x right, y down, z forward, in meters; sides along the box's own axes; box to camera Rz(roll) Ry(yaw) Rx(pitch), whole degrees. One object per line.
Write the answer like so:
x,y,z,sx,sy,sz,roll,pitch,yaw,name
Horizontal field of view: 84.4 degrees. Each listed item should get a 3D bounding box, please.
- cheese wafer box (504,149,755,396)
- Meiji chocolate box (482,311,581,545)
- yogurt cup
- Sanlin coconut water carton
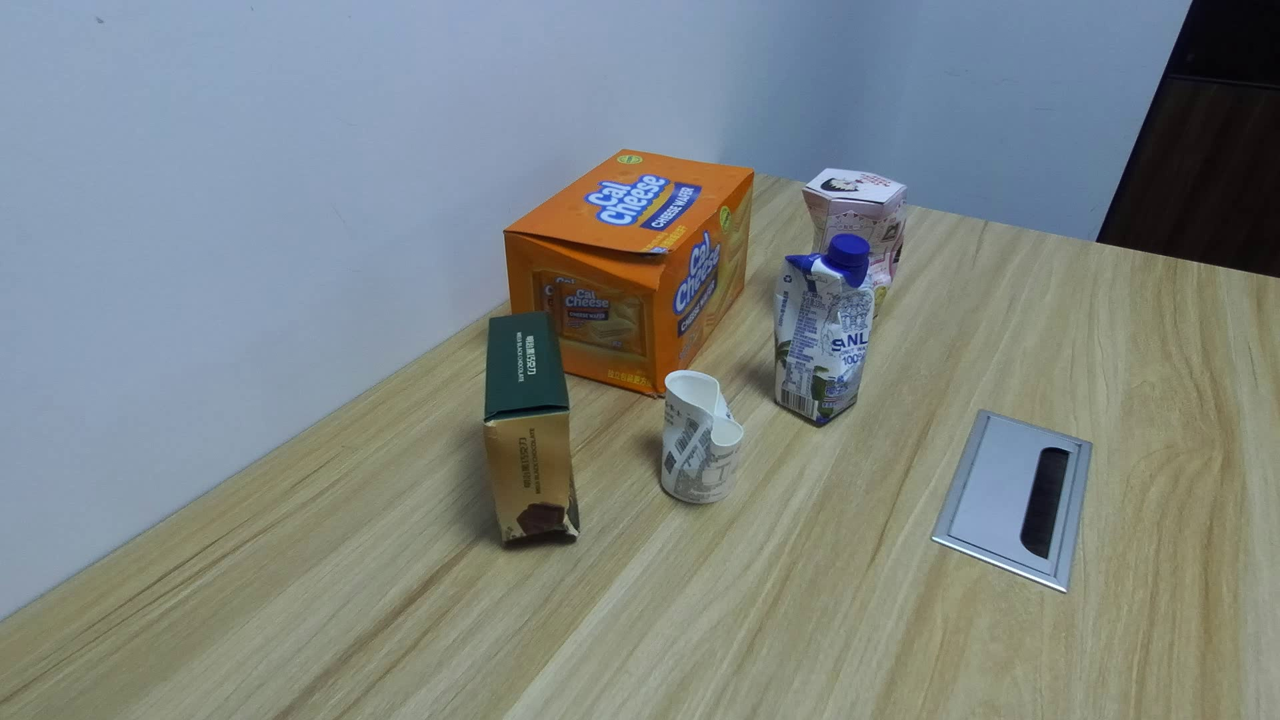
0.000,-0.091,0.648,0.149,0.137,0.227,16,37,20,cheese wafer box
-0.075,0.044,0.472,0.058,0.116,0.122,-5,34,-8,Meiji chocolate box
0.041,0.056,0.484,0.075,0.071,0.054,25,43,34,yogurt cup
0.143,-0.029,0.550,0.068,0.145,0.057,21,33,39,Sanlin coconut water carton
